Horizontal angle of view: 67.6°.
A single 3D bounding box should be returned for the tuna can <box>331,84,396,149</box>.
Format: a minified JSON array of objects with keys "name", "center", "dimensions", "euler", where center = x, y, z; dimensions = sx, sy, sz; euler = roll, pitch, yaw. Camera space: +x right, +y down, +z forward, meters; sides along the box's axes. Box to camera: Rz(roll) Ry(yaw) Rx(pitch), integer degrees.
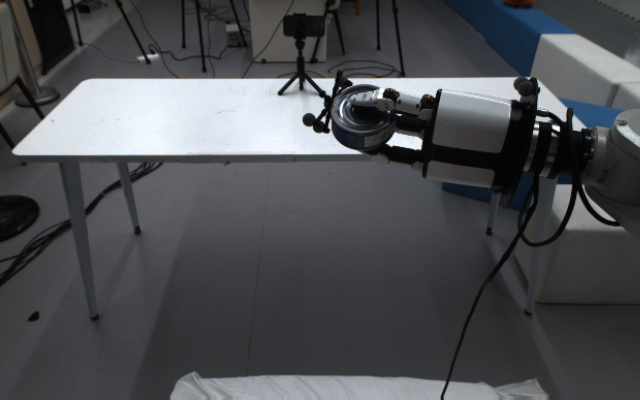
[{"name":"tuna can","center":[0.058,-0.109,0.632],"dimensions":[0.085,0.034,0.085],"euler":[-1,61,1]}]
